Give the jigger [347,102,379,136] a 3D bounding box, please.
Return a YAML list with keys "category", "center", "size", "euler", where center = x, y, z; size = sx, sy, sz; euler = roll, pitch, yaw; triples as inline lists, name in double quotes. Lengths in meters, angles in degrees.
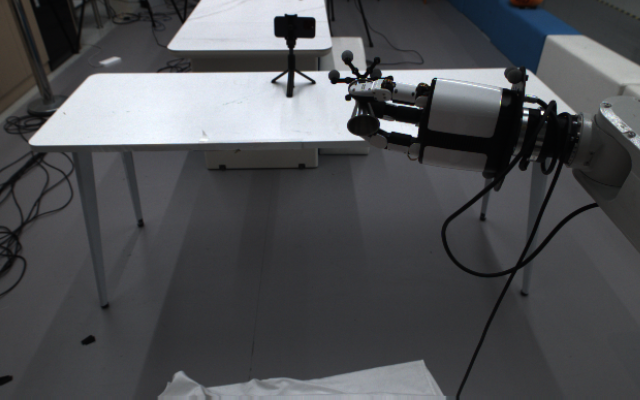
- category: "jigger"
  center: [0.058, -0.132, 0.660]
  size: [0.043, 0.043, 0.071]
  euler: [2, 59, -1]
